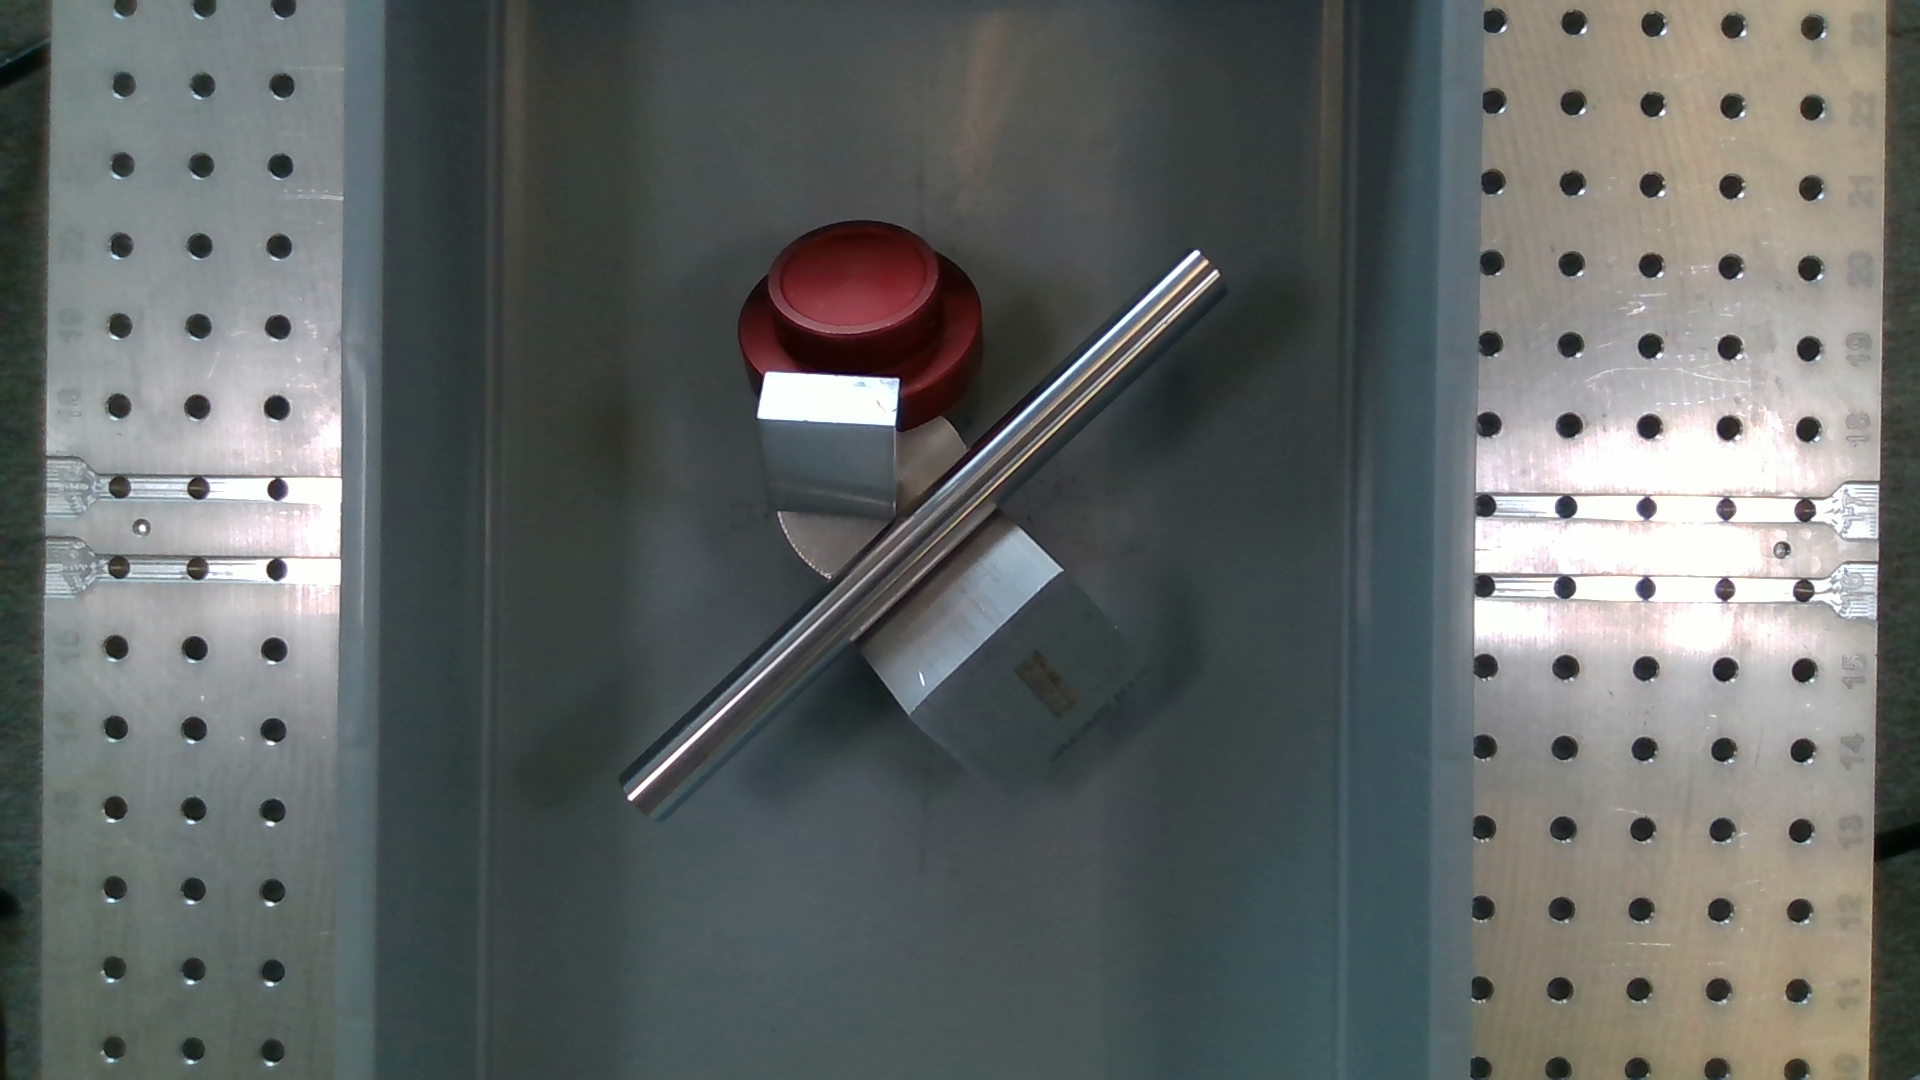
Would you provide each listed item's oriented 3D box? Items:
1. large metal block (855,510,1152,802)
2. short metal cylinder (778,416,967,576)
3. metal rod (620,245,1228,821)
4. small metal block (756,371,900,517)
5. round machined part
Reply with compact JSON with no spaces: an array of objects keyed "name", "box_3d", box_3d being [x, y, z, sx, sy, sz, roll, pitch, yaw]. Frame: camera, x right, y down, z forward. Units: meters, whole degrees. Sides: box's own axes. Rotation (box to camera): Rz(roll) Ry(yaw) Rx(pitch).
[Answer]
[{"name":"large metal block","box_3d":[0.018,0.046,0.553,0.080,0.050,0.080,-44,133,0]},{"name":"short metal cylinder","box_3d":[-0.034,-0.020,0.573,0.080,0.050,0.080,0,90,0]},{"name":"metal rod","box_3d":[-0.014,-0.002,0.536,0.300,0.025,0.025,-43,90,0]},{"name":"small metal block","box_3d":[-0.049,-0.036,0.521,0.050,0.050,0.025,3,50,0]},{"name":"round machined part","box_3d":[-0.041,-0.090,0.551,0.098,0.042,0.098,-2,52,3]}]
